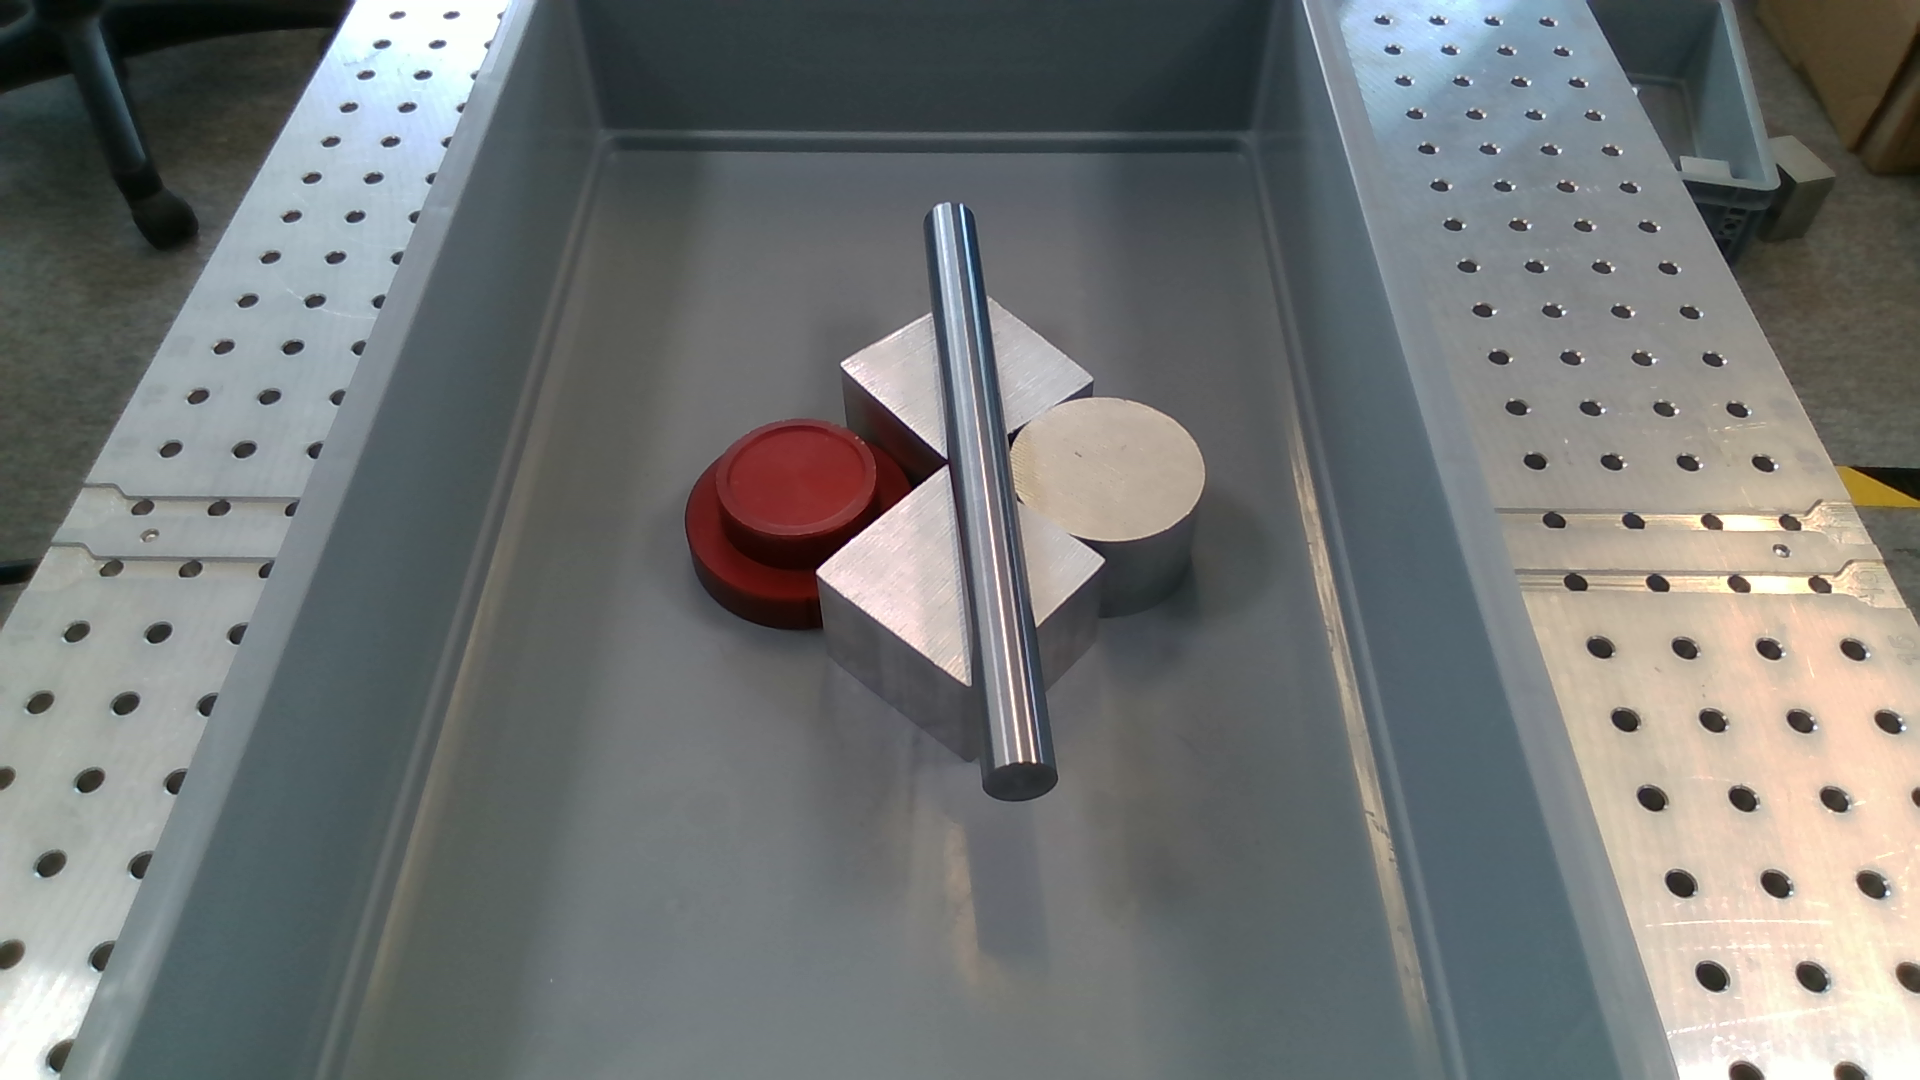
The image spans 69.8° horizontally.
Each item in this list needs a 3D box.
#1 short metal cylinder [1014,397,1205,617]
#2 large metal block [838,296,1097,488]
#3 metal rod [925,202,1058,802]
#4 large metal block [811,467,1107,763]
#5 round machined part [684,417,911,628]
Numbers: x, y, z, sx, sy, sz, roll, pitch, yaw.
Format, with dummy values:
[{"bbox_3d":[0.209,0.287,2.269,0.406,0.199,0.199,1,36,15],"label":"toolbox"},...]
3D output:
[{"bbox_3d":[0.060,-0.015,0.581,0.080,0.050,0.080,0,50,0],"label":"short metal cylinder"},{"bbox_3d":[0.003,-0.058,0.618,0.080,0.050,0.080,-33,58,-23],"label":"large metal block"},{"bbox_3d":[0.007,-0.034,0.546,0.025,0.025,0.299,-4,50,-3],"label":"metal rod"},{"bbox_3d":[0.000,0.026,0.544,0.080,0.050,0.080,34,58,26],"label":"large metal block"},{"bbox_3d":[-0.068,-0.014,0.586,0.098,0.042,0.098,0,50,0],"label":"round machined part"}]
